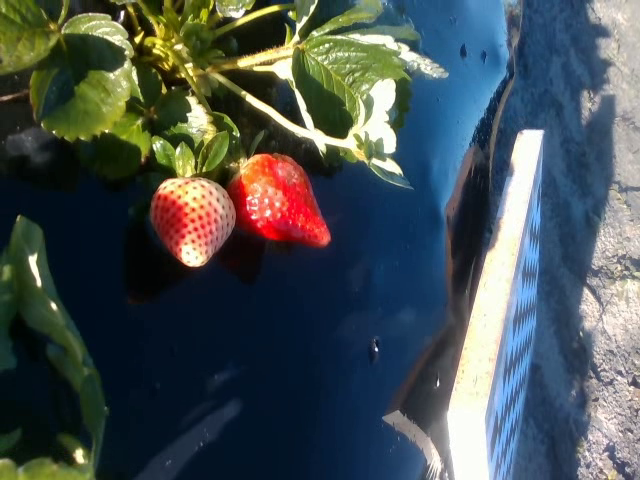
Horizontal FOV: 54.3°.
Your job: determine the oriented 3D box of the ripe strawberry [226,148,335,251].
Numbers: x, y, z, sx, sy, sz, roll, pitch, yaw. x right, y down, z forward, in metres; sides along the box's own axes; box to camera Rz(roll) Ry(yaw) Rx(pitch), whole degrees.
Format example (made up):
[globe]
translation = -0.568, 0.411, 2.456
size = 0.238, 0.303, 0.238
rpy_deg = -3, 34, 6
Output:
[ripe strawberry]
translation = -0.010, -0.013, 0.246
size = 0.055, 0.040, 0.038
rpy_deg = 35, -14, 31
